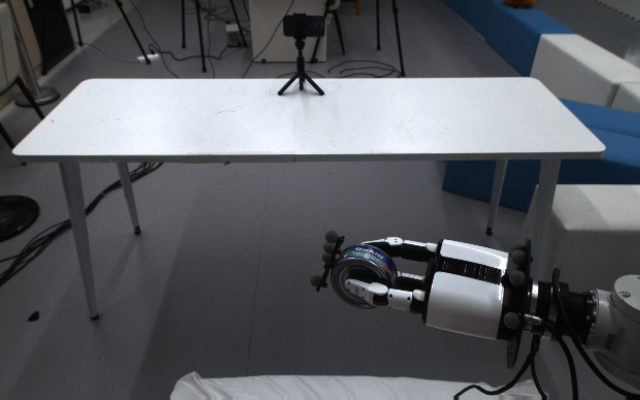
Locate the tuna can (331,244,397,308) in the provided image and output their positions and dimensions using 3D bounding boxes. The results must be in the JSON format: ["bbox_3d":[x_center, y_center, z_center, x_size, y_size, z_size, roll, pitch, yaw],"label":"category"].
[{"bbox_3d":[0.061,0.102,0.647,0.085,0.085,0.034,12,30,14],"label":"tuna can"}]
